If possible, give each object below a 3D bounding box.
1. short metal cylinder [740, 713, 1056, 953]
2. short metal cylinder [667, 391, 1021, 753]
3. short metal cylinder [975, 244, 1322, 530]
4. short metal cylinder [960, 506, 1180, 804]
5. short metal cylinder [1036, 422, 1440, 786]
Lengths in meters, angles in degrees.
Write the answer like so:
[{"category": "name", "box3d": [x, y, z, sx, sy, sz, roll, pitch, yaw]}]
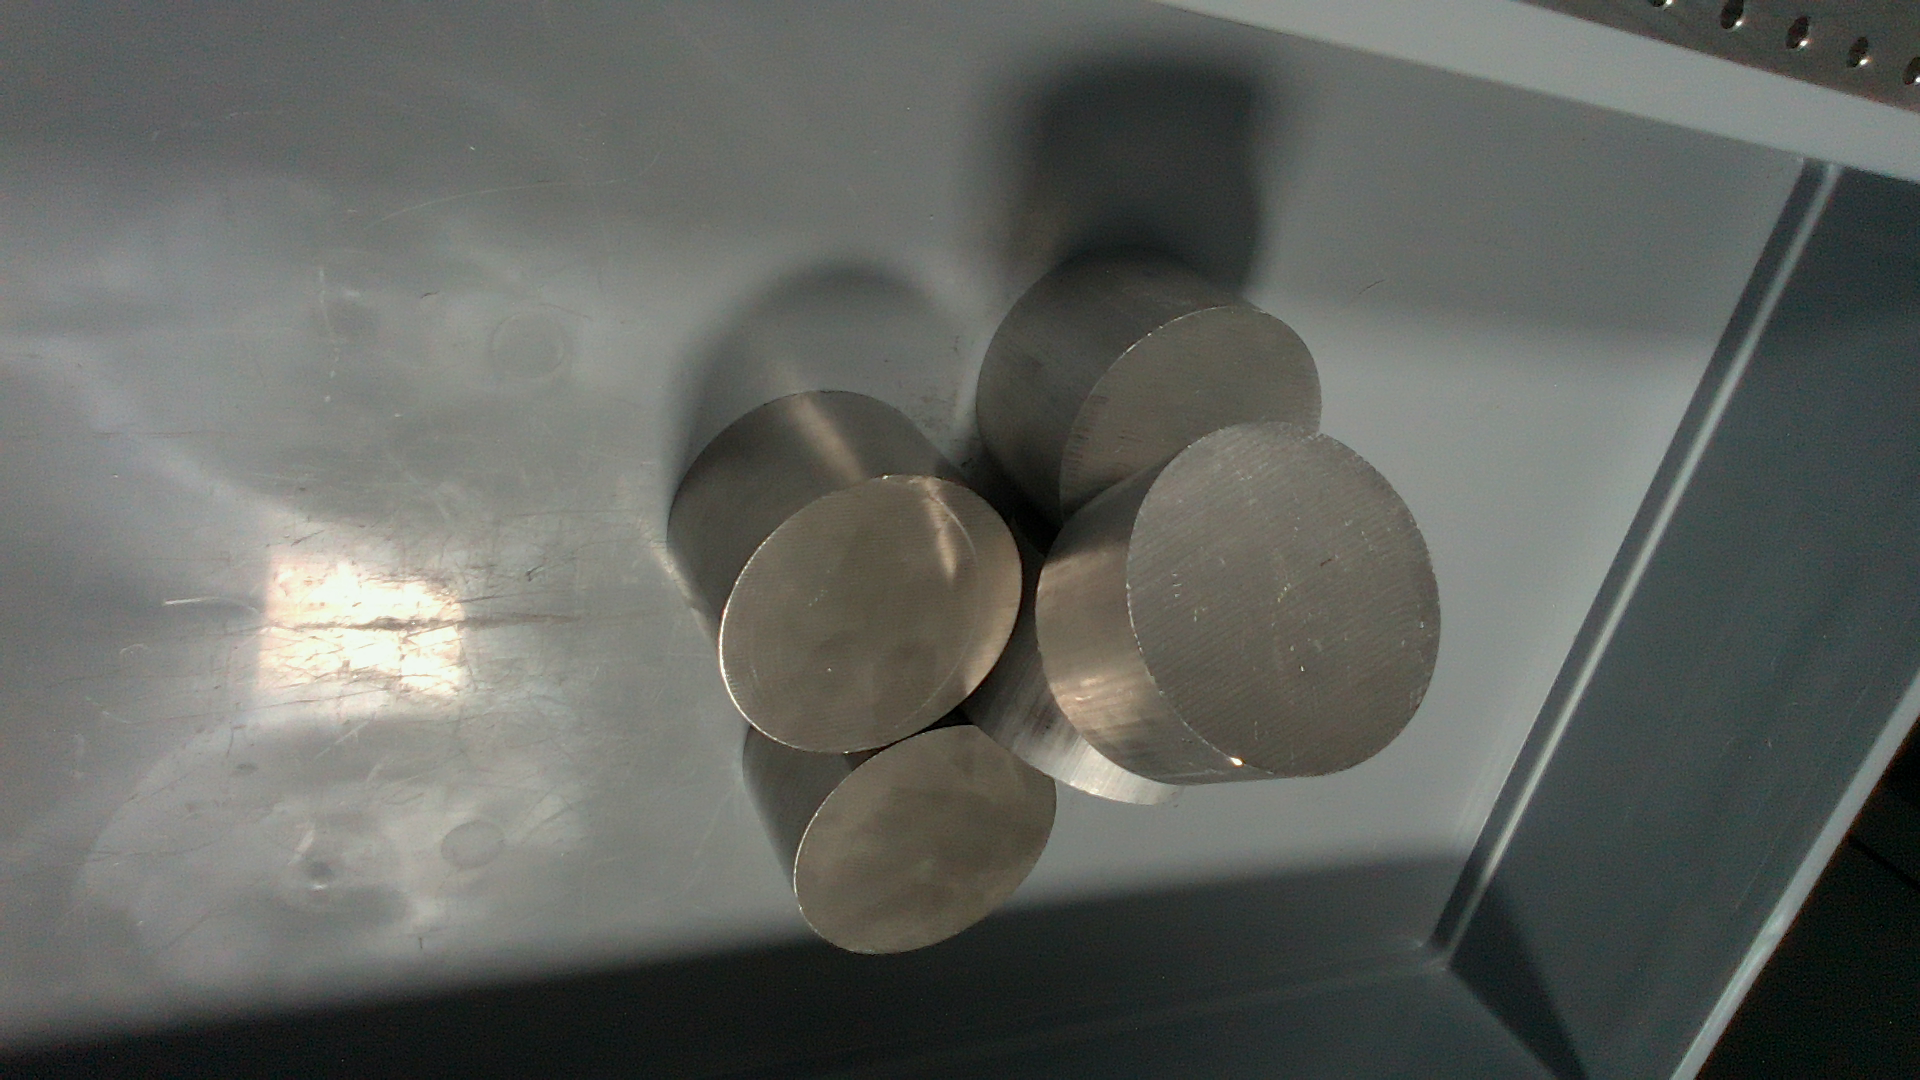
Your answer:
[{"category": "short metal cylinder", "box3d": [-0.019, 0.074, 0.406, 0.080, 0.050, 0.080, -14, 124, -21]}, {"category": "short metal cylinder", "box3d": [-0.031, 0.008, 0.359, 0.080, 0.050, 0.080, -14, 124, -21]}, {"category": "short metal cylinder", "box3d": [0.051, -0.035, 0.378, 0.080, 0.050, 0.080, -14, 124, -21]}, {"category": "short metal cylinder", "box3d": [0.040, 0.030, 0.393, 0.080, 0.080, 0.050, 14, 111, -34]}, {"category": "short metal cylinder", "box3d": [0.065, 0.017, 0.327, 0.080, 0.050, 0.080, 5, 77, -20]}]
